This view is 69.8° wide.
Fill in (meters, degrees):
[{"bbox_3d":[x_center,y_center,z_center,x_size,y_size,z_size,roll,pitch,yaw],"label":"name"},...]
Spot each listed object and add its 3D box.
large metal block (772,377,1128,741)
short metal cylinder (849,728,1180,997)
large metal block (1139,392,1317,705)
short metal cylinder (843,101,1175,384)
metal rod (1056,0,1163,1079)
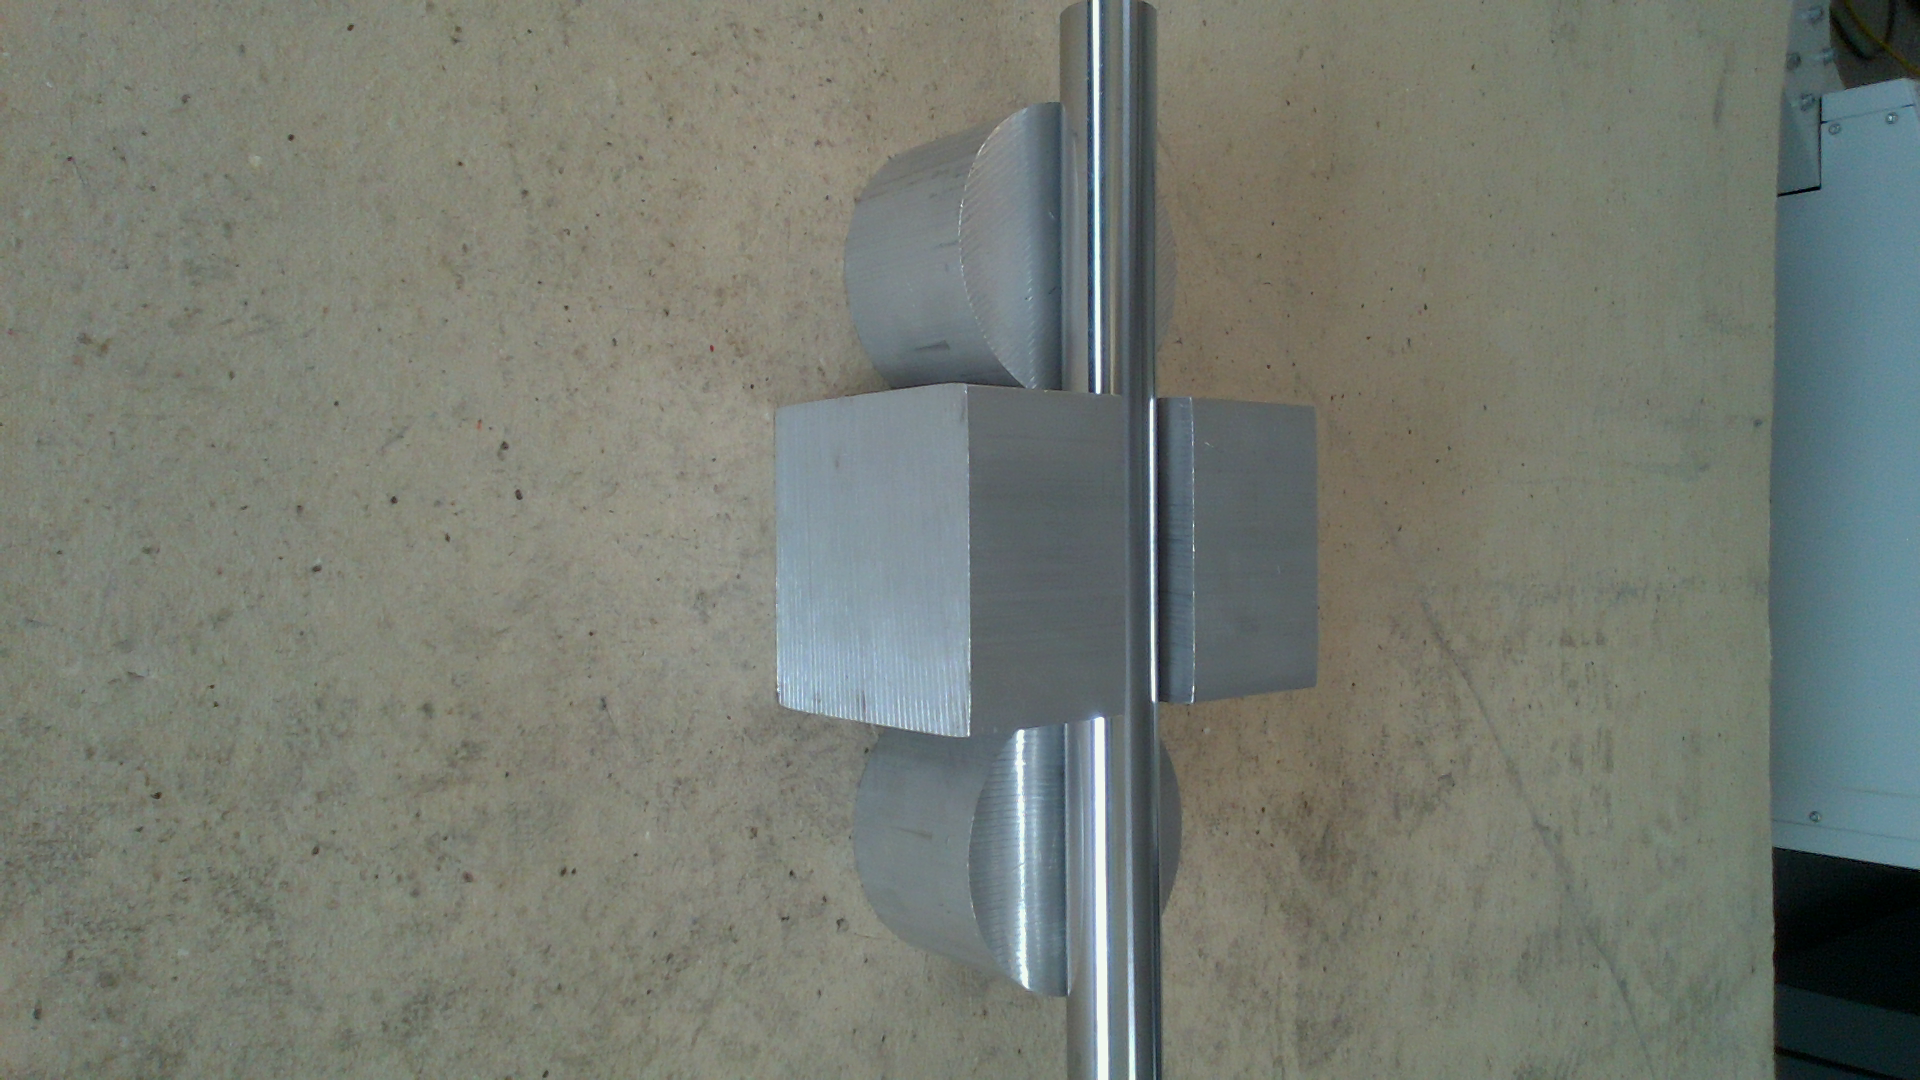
[{"bbox_3d":[-0.004,0.004,0.349,0.050,0.080,0.080,-1,90,-40],"label":"large metal block"},{"bbox_3d":[0.016,0.081,0.387,0.080,0.050,0.080,1,89,-40],"label":"short metal cylinder"},{"bbox_3d":[0.055,0.002,0.399,0.050,0.080,0.080,-1,90,-40],"label":"large metal block"},{"bbox_3d":[0.014,-0.076,0.385,0.080,0.050,0.080,1,89,-40],"label":"short metal cylinder"},{"bbox_3d":[0.039,0.015,0.356,0.025,0.025,0.300,-1,90,-40],"label":"metal rod"}]
